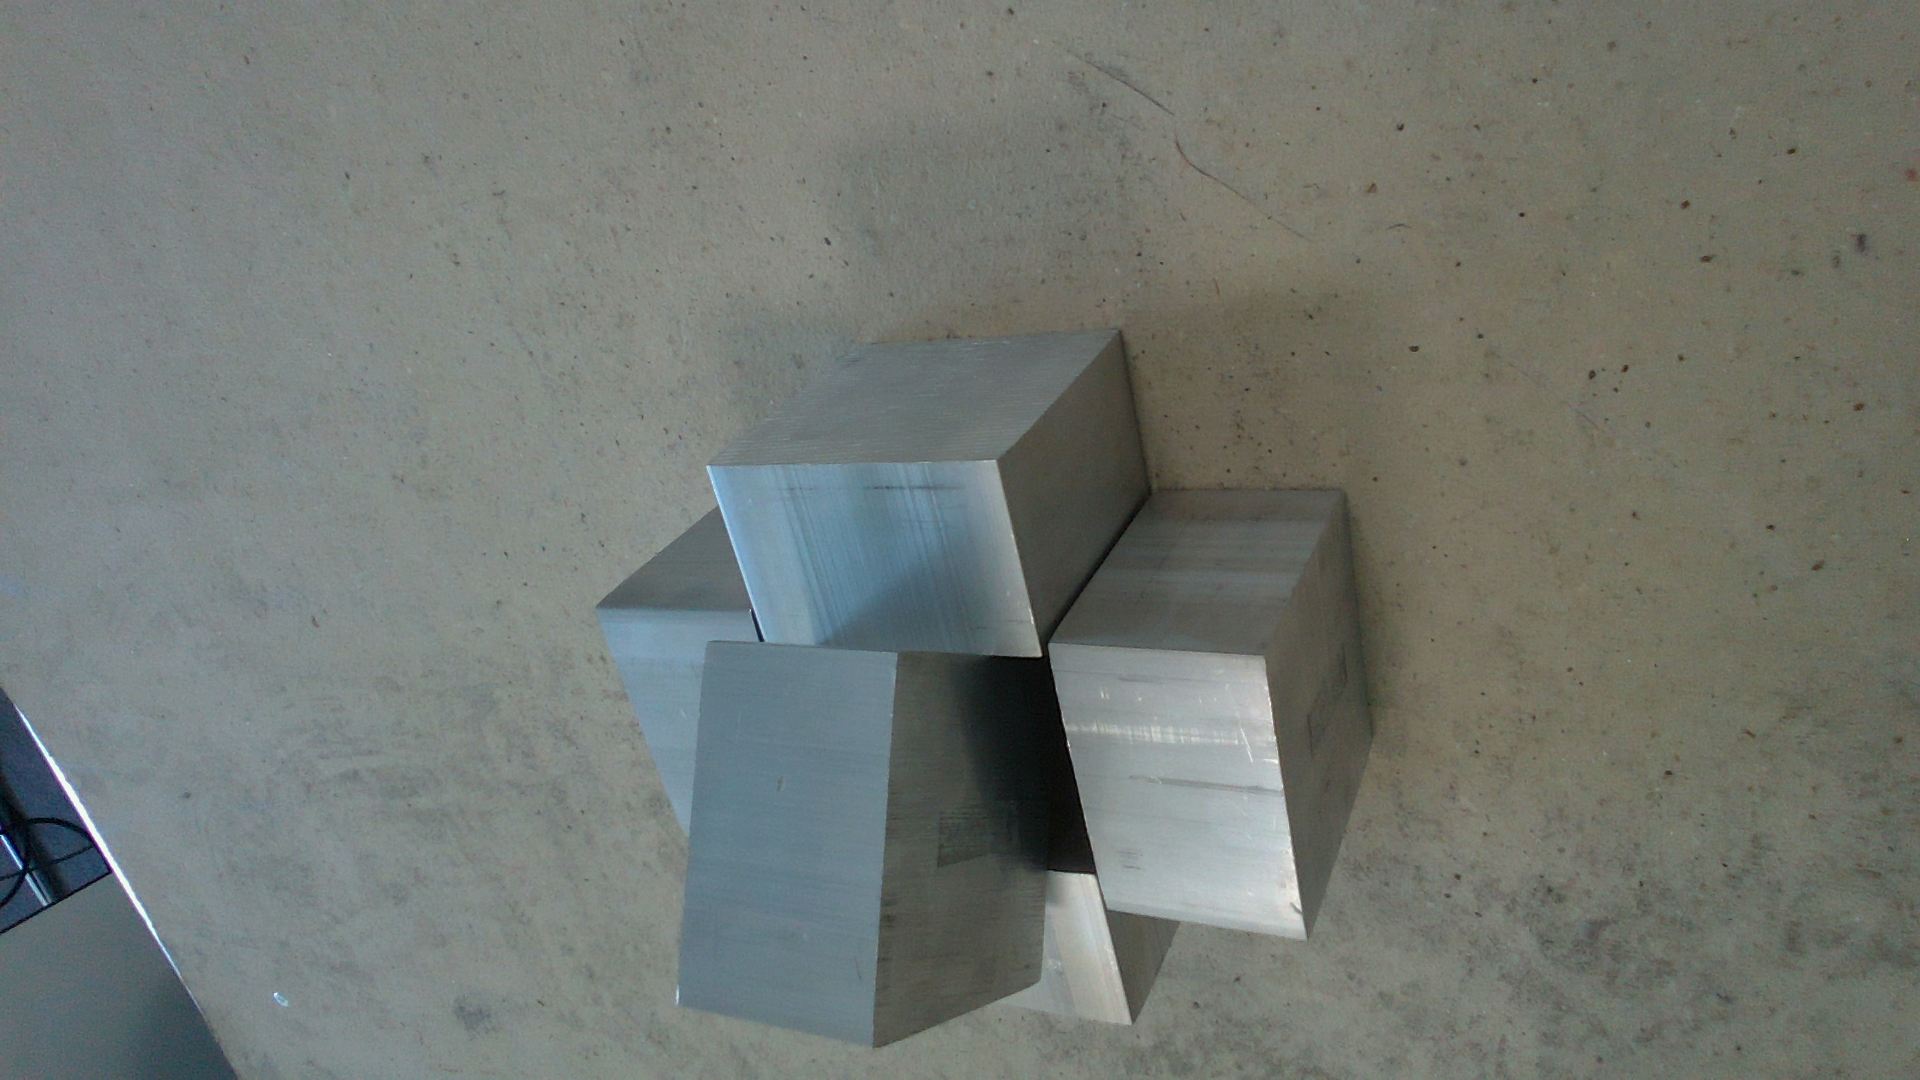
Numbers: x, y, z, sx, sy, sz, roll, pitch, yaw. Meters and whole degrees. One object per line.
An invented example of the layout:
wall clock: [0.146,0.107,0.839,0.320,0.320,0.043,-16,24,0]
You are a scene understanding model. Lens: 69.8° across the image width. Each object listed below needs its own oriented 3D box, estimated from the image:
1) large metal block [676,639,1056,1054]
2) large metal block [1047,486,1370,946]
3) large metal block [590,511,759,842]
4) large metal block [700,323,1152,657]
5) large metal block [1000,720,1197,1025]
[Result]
large metal block: [-0.018,0.066,0.323,0.050,0.080,0.080,1,85,28]
large metal block: [0.067,0.040,0.346,0.050,0.080,0.080,1,119,28]
large metal block: [-0.051,0.034,0.405,0.050,0.080,0.080,0,118,29]
large metal block: [-0.005,-0.015,0.351,0.080,0.080,0.050,1,119,28]
large metal block: [0.022,0.086,0.399,0.080,0.080,0.050,0,118,28]
